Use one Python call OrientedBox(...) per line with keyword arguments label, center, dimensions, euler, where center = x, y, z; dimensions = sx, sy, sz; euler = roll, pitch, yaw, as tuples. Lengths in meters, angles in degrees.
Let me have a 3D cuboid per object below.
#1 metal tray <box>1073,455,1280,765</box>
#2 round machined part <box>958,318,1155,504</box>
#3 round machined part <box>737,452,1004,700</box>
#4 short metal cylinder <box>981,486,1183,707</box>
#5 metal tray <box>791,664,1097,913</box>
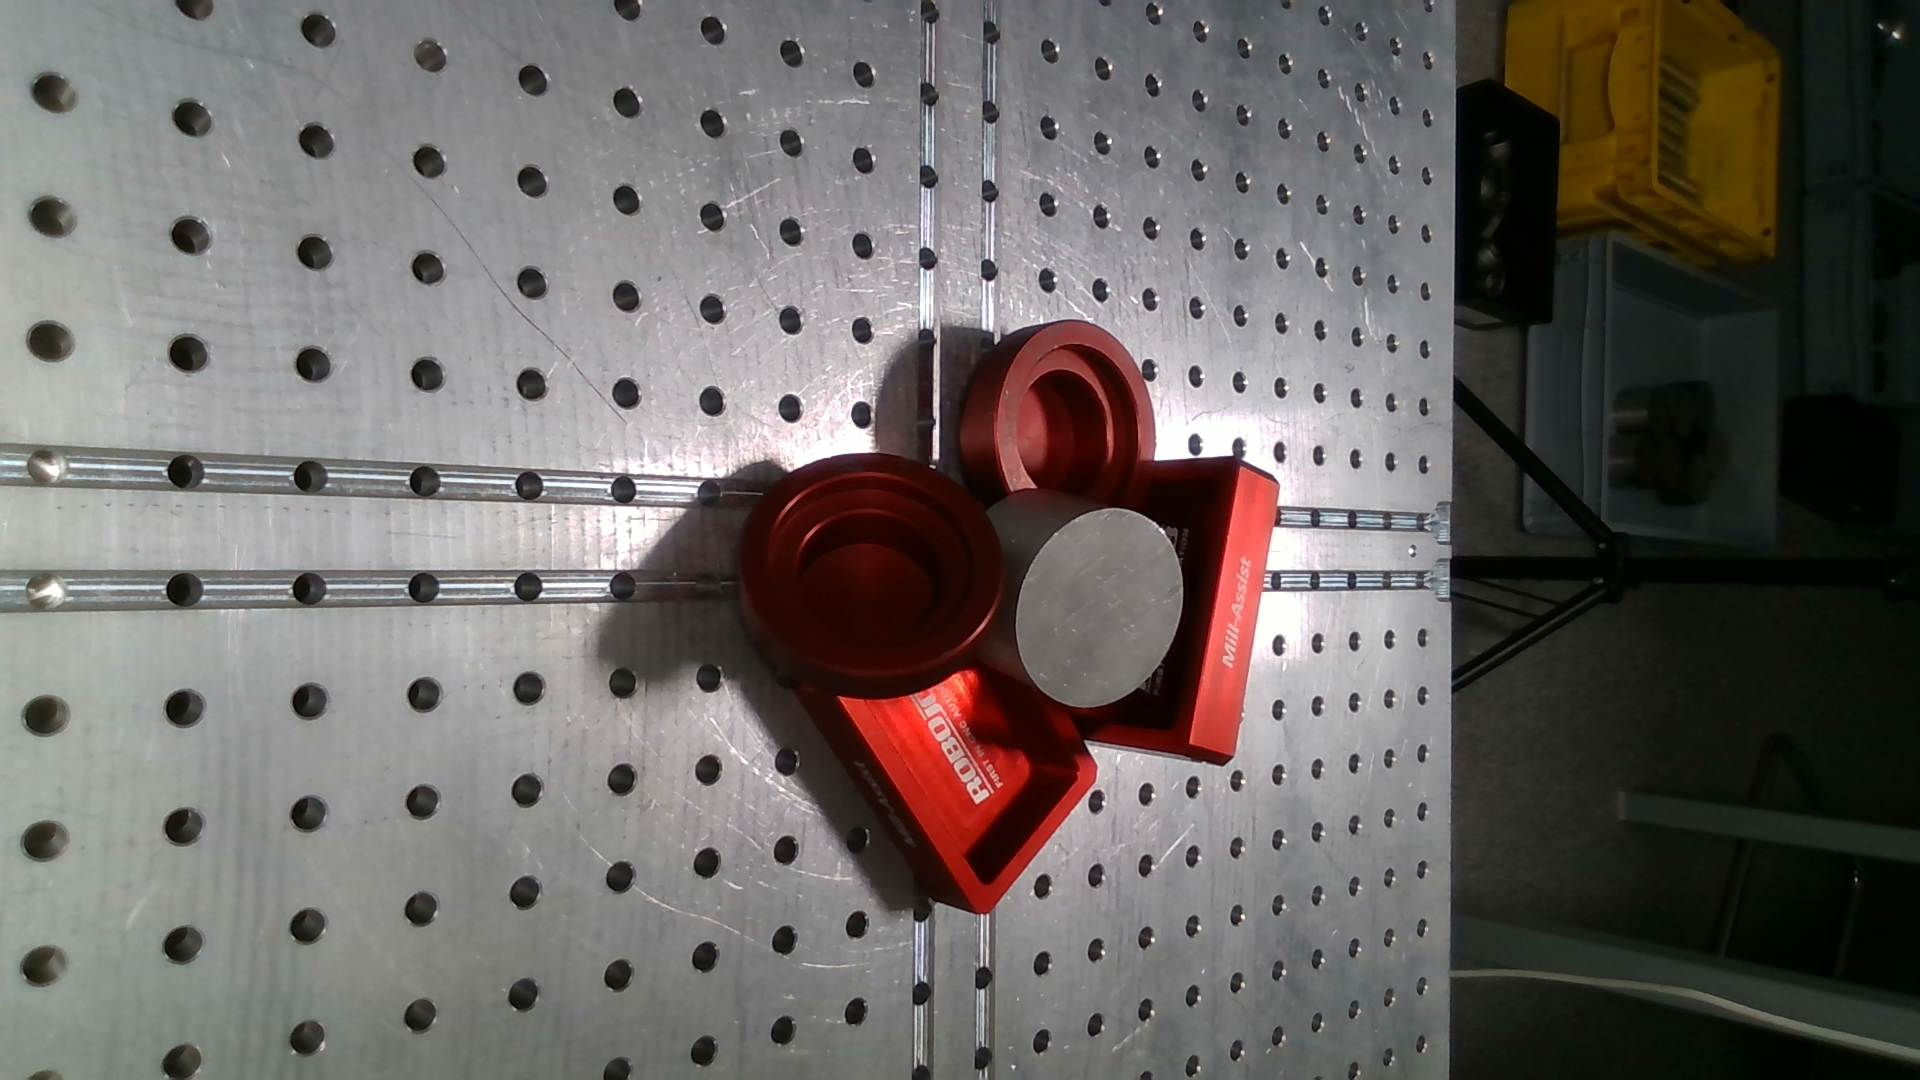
OrientedBox(label="metal tray", center=(0.089, 0.030, 0.618), dimensions=(0.030, 0.090, 0.130), euler=(20, 78, -38))
OrientedBox(label="round machined part", center=(0.038, -0.046, 0.608), dimensions=(0.098, 0.042, 0.098), euler=(0, 90, -40))
OrientedBox(label="round machined part", center=(-0.035, 0.018, 0.523), dimensions=(0.098, 0.042, 0.098), euler=(4, 56, -7))
OrientedBox(label="short metal cylinder", center=(0.043, 0.022, 0.557), dimensions=(0.080, 0.050, 0.080), euler=(-8, 106, -30))
OrientedBox(label="metal tray", center=(-0.003, 0.080, 0.580), dimensions=(0.090, 0.030, 0.130), euler=(-44, 117, -31))
